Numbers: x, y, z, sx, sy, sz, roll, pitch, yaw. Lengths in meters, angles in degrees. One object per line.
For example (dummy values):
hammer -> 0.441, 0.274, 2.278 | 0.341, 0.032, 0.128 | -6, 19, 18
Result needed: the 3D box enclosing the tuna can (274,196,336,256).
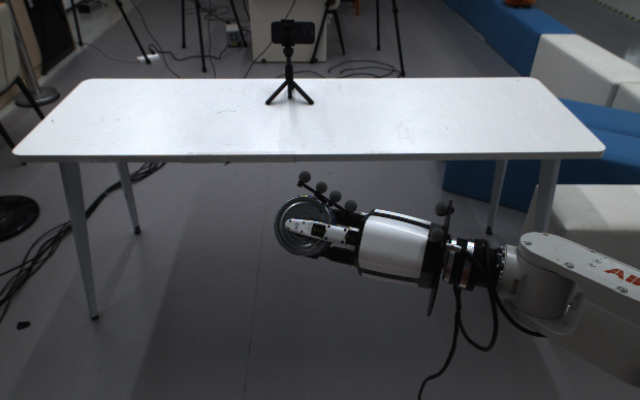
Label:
tuna can -> -0.019, 0.036, 0.684 | 0.085, 0.085, 0.034 | 12, -4, 15
